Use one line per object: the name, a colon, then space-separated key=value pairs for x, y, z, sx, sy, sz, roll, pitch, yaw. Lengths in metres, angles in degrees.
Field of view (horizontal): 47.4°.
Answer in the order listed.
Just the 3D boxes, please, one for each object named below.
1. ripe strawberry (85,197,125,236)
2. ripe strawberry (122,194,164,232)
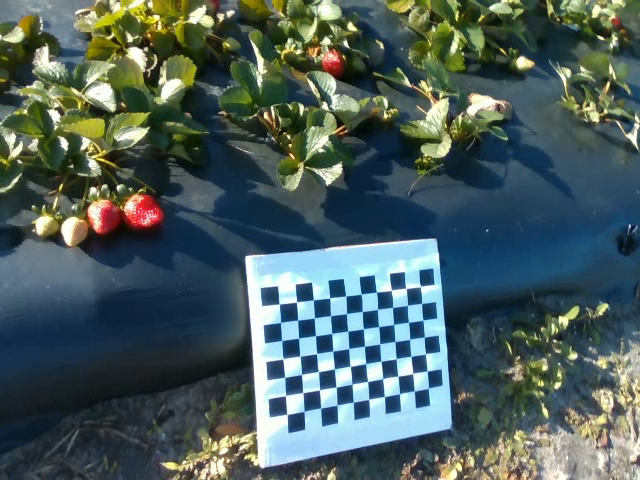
ripe strawberry: x=-0.275 y=-0.029 z=0.911 sx=0.050 sy=0.043 sz=0.061 roll=21 pitch=34 yaw=-23
ripe strawberry: x=-0.224 y=-0.035 z=0.927 sx=0.067 sy=0.056 sz=0.051 roll=21 pitch=-19 yaw=35
